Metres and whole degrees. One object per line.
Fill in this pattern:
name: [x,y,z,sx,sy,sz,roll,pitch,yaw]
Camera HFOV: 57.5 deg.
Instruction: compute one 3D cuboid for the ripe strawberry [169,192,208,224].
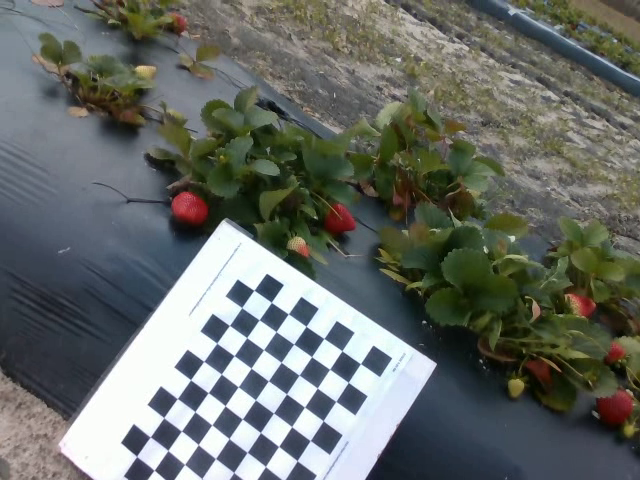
ripe strawberry: [-0.129,-0.032,0.553,0.037,0.037,0.046,-13,23,6]
